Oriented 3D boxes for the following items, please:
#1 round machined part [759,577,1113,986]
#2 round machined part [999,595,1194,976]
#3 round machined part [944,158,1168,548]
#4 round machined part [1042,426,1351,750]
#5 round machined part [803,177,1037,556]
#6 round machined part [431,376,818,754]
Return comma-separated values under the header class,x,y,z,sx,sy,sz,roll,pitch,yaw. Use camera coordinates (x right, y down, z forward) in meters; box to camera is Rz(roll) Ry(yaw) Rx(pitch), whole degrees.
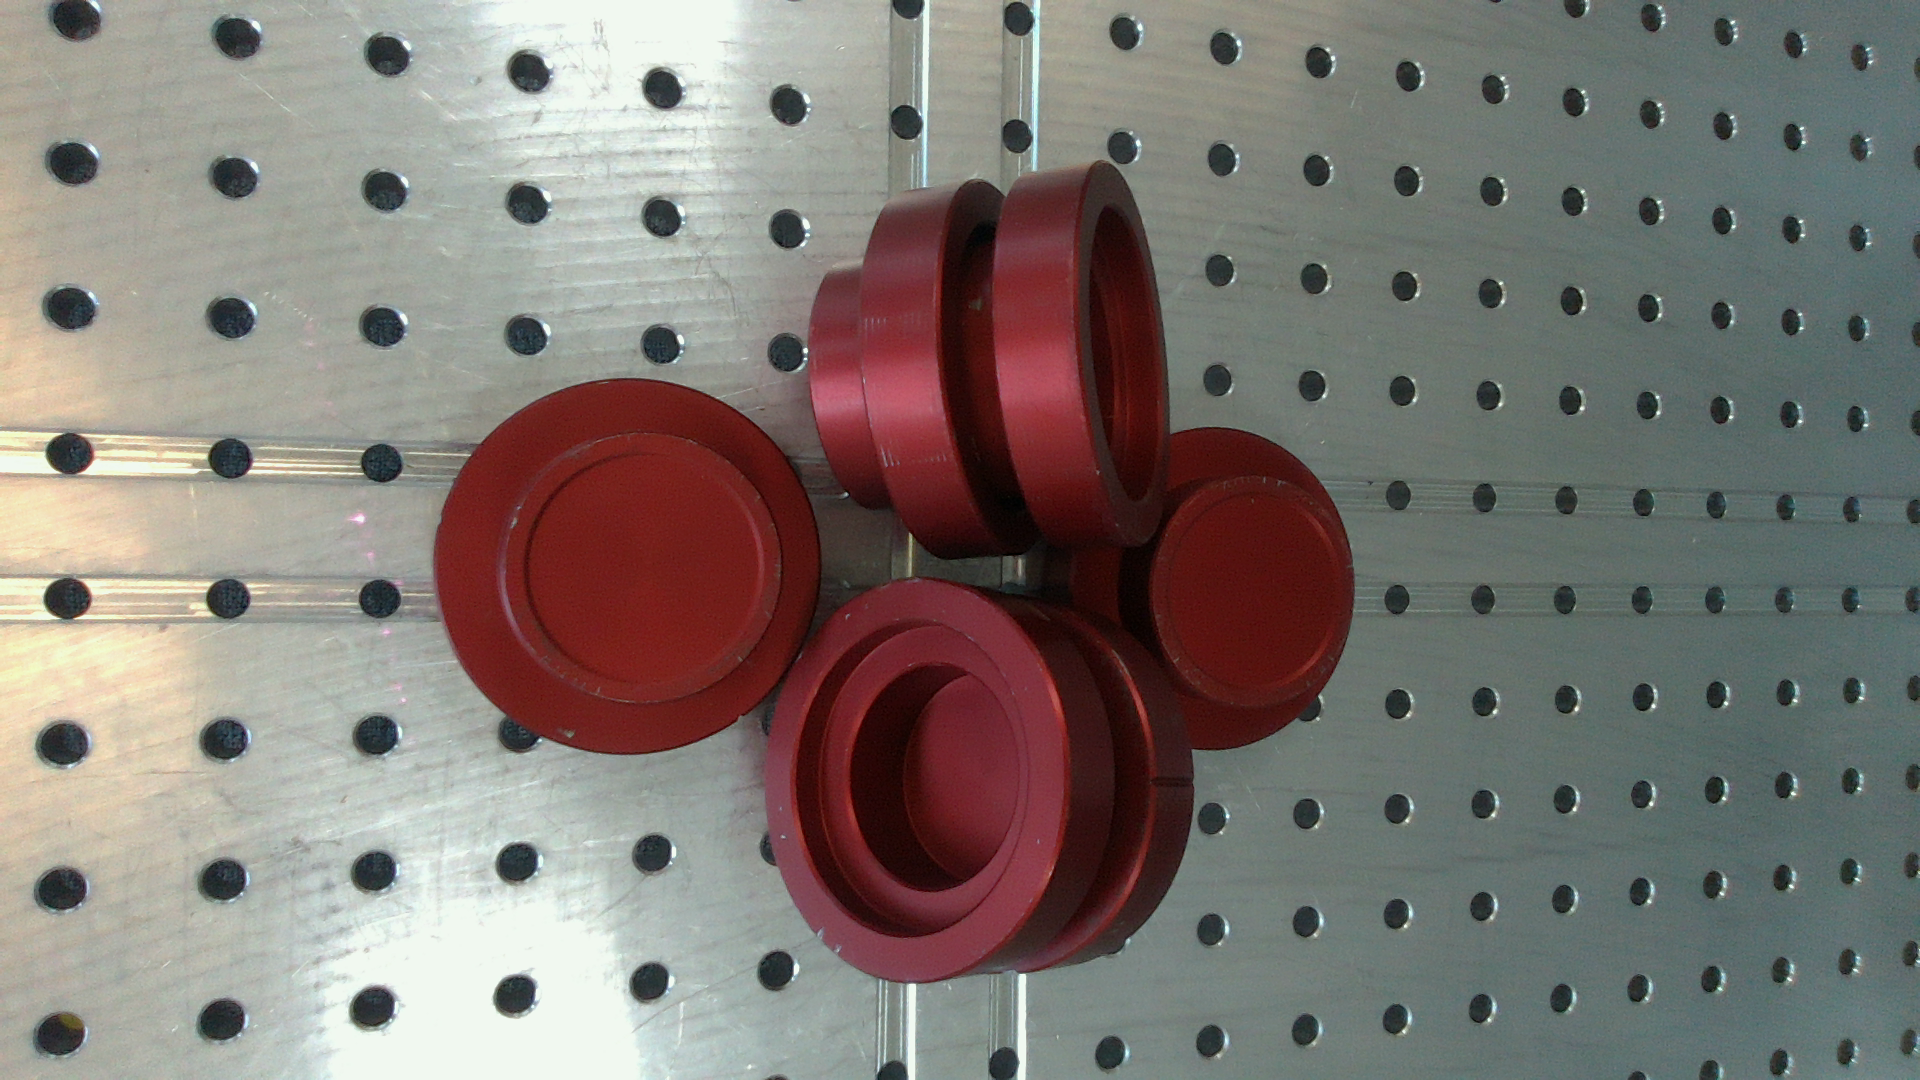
class,x,y,z,sx,sy,sz,roll,pitch,yaw
round machined part,-0.002,0.061,0.351,0.042,0.098,0.098,13,85,-51
round machined part,0.020,0.066,0.374,0.042,0.098,0.098,14,85,-51
round machined part,0.023,-0.046,0.358,0.042,0.098,0.098,-5,92,20
round machined part,0.077,0.014,0.415,0.098,0.042,0.098,0,90,-20
round machined part,-0.008,-0.044,0.366,0.042,0.098,0.098,-5,92,20
round machined part,-0.084,0.006,0.355,0.098,0.042,0.098,0,90,-20
